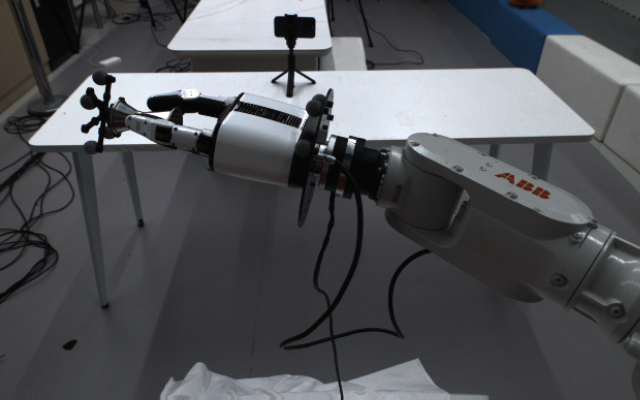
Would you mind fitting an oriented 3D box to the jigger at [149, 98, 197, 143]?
[{"bbox_3d":[-0.191,-0.091,0.558,0.071,0.043,0.043,10,35,2],"label":"jigger"}]
